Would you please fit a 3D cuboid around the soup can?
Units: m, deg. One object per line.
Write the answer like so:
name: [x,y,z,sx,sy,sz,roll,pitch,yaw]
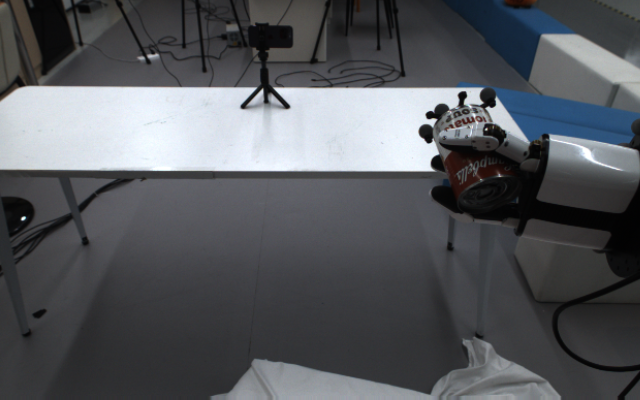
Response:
soup can: [0.170,-0.048,0.531,0.067,0.067,0.101,-5,57,-10]
